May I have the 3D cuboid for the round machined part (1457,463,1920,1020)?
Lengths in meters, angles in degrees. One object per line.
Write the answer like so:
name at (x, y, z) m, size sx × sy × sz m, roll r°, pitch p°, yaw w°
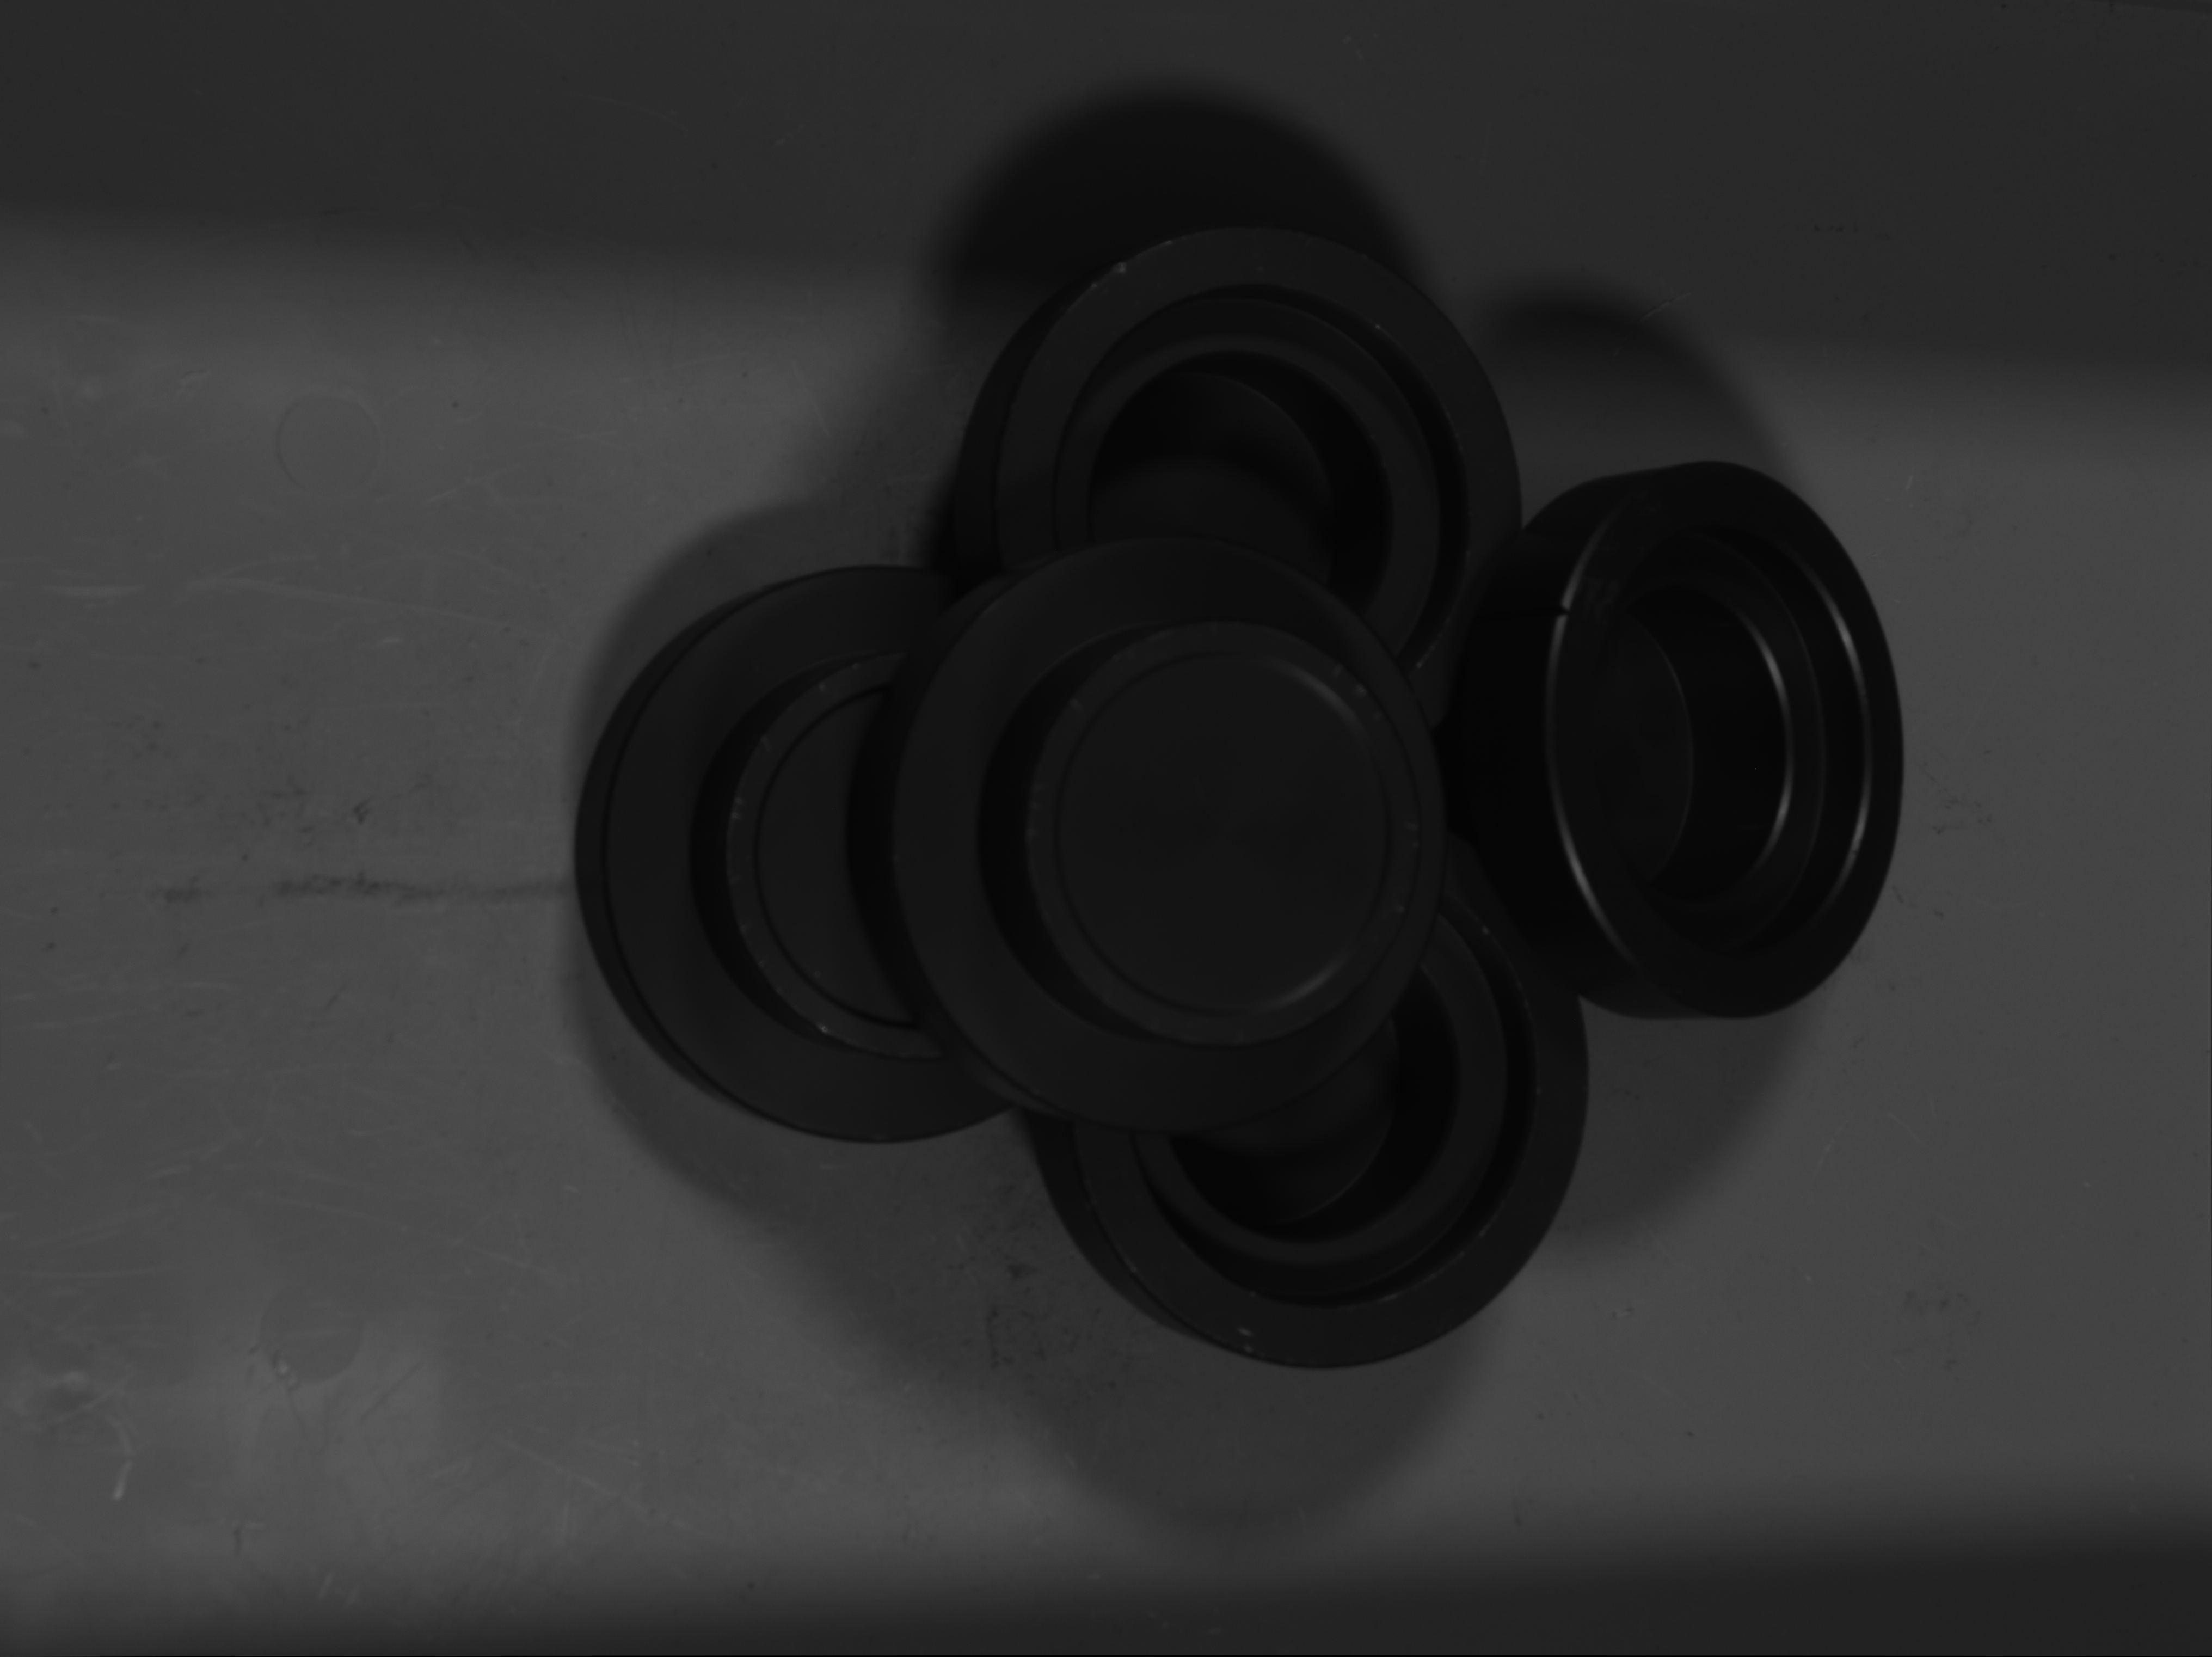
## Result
round machined part at (0.099, -0.015, 0.658) m, size 0.098 × 0.042 × 0.098 m, roll 3°, pitch 85°, yaw -40°

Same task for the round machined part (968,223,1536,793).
round machined part at (0.022, -0.054, 0.641) m, size 0.098 × 0.042 × 0.098 m, roll 0°, pitch 90°, yaw -20°

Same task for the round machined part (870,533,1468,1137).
round machined part at (0.015, 0.001, 0.592) m, size 0.098 × 0.042 × 0.098 m, roll 0°, pitch 90°, yaw -20°

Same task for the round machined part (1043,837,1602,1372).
round machined part at (0.034, 0.044, 0.645) m, size 0.098 × 0.042 × 0.098 m, roll 0°, pitch 90°, yaw -20°

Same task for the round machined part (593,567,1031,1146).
round machined part at (-0.034, 0.005, 0.619) m, size 0.098 × 0.042 × 0.098 m, roll 0°, pitch 90°, yaw -20°
